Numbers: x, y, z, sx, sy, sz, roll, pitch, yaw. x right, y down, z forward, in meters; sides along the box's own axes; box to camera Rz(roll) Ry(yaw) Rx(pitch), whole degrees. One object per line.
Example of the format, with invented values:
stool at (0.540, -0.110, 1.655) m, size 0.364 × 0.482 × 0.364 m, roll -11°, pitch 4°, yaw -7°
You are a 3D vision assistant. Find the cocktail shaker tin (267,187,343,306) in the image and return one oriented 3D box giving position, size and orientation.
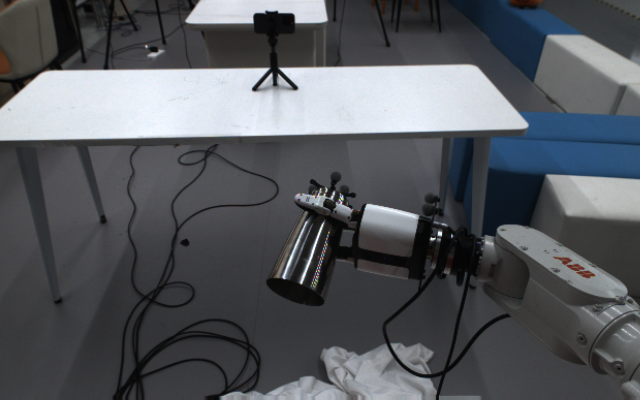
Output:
cocktail shaker tin at (-0.011, 0.065, 0.752) m, size 0.093 × 0.093 × 0.170 m, roll 13°, pitch 59°, yaw 16°
